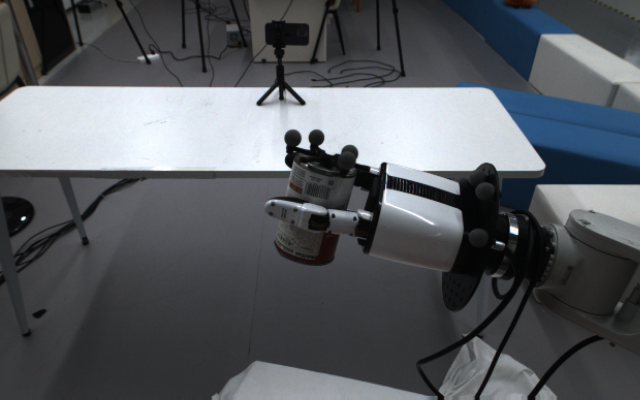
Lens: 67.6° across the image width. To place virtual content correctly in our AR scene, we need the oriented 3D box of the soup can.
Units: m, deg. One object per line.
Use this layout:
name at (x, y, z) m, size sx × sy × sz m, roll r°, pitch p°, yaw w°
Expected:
soup can at (-0.004, 0.009, 0.511) m, size 0.067 × 0.101 × 0.067 m, roll 13°, pitch 18°, yaw -4°
